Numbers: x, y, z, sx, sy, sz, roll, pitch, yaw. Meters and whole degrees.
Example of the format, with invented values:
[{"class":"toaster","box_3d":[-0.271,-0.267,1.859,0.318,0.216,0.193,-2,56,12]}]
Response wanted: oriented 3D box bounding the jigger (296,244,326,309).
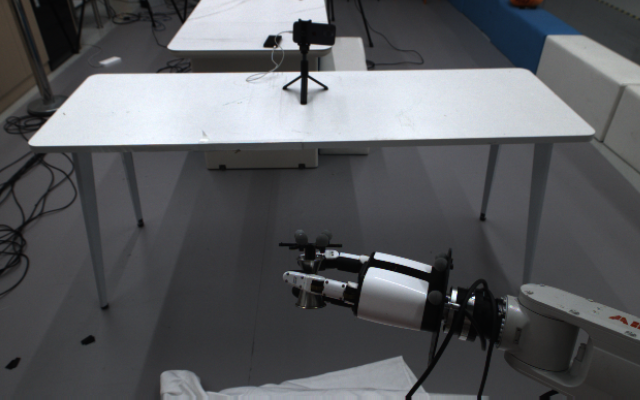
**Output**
[{"class":"jigger","box_3d":[-0.013,0.113,0.682,0.043,0.071,0.043,-1,2,0]}]
